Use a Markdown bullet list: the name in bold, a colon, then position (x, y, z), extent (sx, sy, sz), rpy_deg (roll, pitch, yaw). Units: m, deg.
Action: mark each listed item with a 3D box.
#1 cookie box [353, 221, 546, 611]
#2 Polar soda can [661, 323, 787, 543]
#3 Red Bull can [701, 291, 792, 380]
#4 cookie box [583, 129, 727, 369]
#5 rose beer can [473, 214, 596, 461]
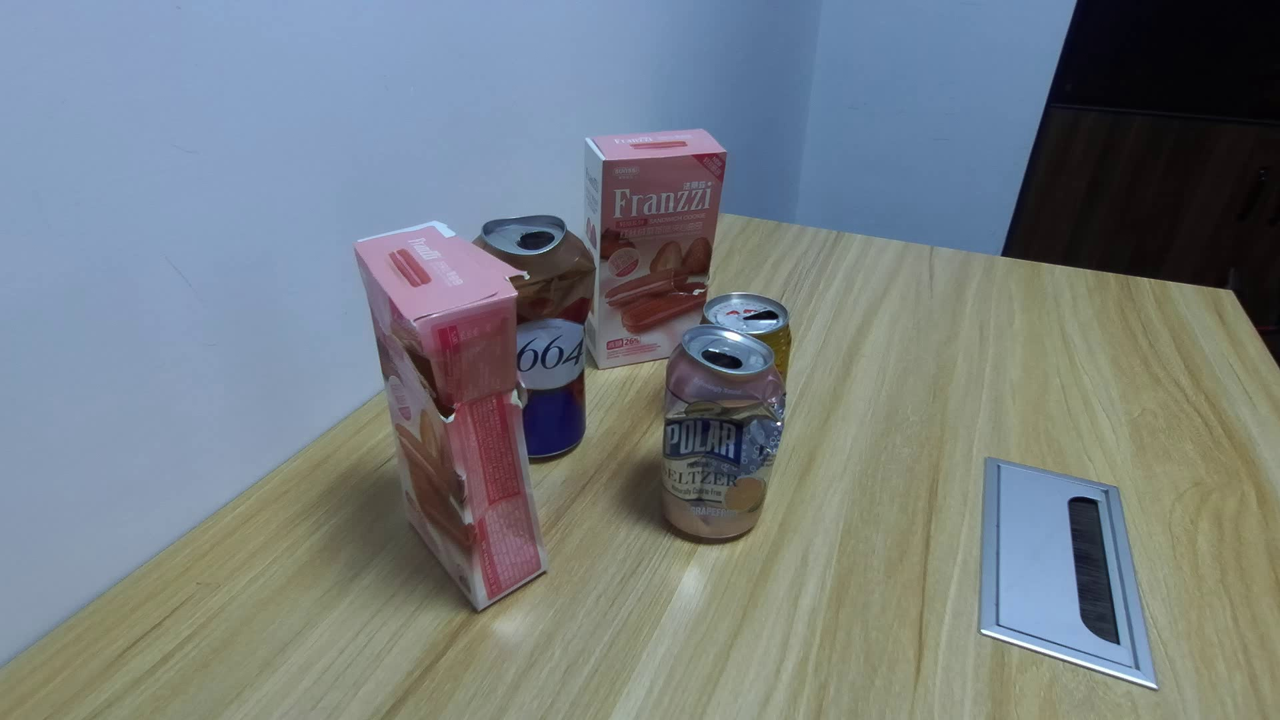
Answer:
- **cookie box**: position (-0.096, 0.033, 0.379), extent (0.059, 0.186, 0.104), rpy_deg (-21, 38, -29)
- **Polar soda can**: position (0.050, 0.044, 0.421), extent (0.071, 0.122, 0.066), rpy_deg (9, 28, 13)
- **Red Bull can**: position (0.073, 0.005, 0.507), extent (0.069, 0.092, 0.069), rpy_deg (1, 32, 0)
- **cookie box**: position (0.012, -0.083, 0.565), extent (0.105, 0.187, 0.048), rpy_deg (-9, 39, -17)
- **rose beer can**: position (-0.071, -0.013, 0.475), extent (0.068, 0.162, 0.074), rpy_deg (22, 39, 30)
